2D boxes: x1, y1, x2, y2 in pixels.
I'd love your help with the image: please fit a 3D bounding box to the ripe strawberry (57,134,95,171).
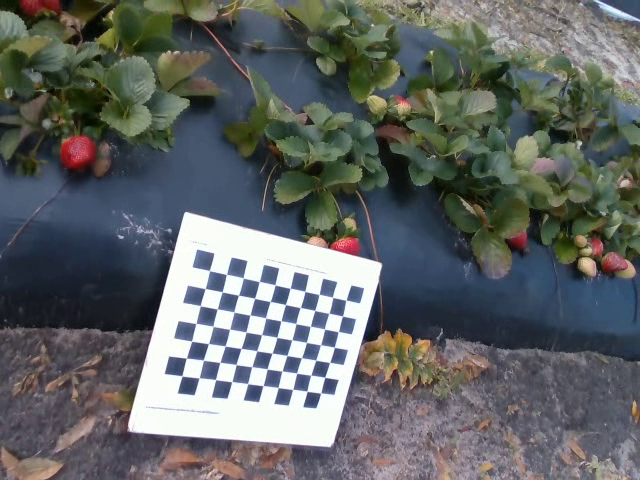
[{"bbox_3d":[-0.310,-0.110,0.799,0.050,0.049,0.053,7,23,-30],"label":"ripe strawberry"}]
